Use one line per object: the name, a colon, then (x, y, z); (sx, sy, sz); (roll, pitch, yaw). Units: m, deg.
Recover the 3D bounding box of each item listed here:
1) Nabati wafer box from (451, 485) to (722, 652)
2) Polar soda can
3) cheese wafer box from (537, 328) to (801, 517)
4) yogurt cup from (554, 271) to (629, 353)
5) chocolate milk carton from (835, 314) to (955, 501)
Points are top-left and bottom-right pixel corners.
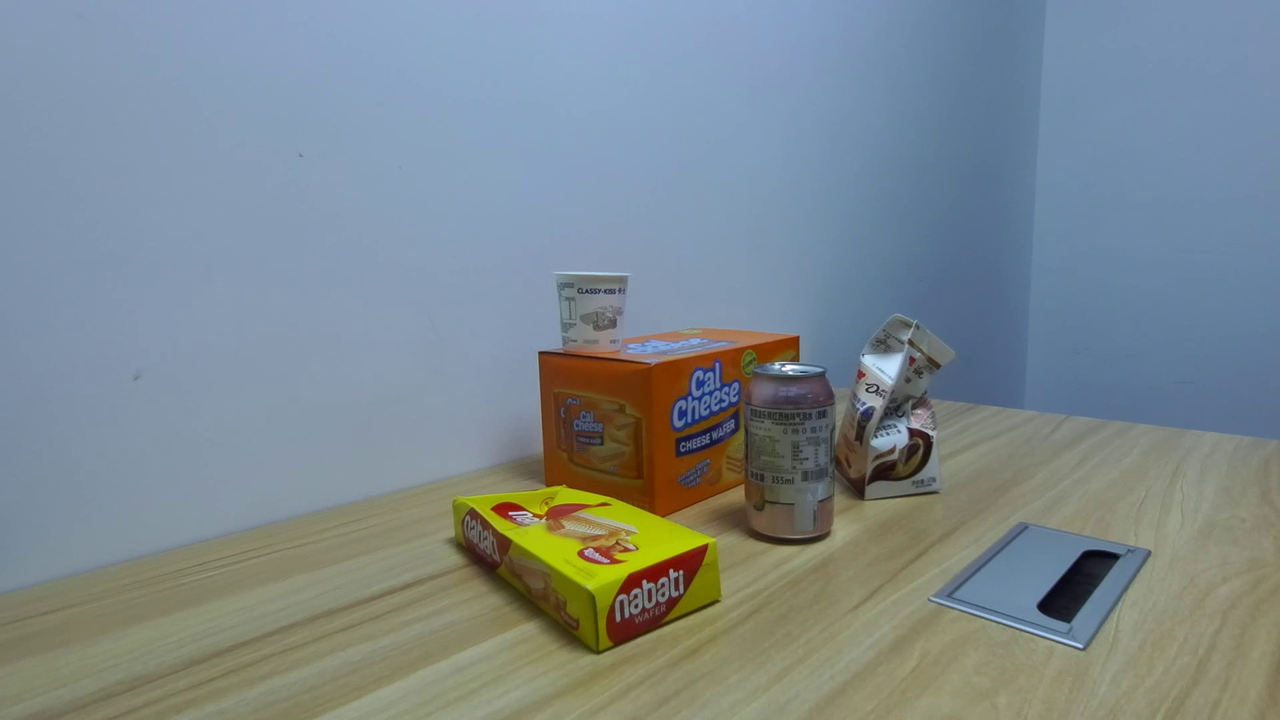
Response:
Nabati wafer box: (-0.046, 0.122, 0.475); (0.097, 0.042, 0.202); (-10, 11, -34)
Polar soda can: (0.110, 0.067, 0.524); (0.067, 0.125, 0.067); (-1, 6, 0)
cheese wafer box: (0.034, 0.047, 0.674); (0.147, 0.129, 0.223); (7, 12, 43)
yogurt cup: (-0.043, -0.043, 0.633); (0.072, 0.068, 0.072); (0, 8, 0)
chocolate milk carton: (0.225, 0.041, 0.614); (0.089, 0.155, 0.076); (11, 9, -14)
